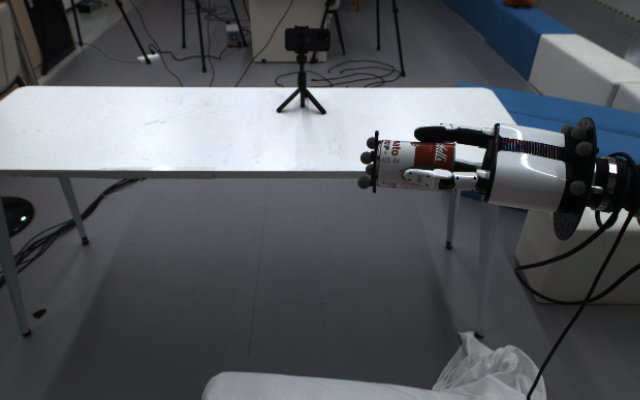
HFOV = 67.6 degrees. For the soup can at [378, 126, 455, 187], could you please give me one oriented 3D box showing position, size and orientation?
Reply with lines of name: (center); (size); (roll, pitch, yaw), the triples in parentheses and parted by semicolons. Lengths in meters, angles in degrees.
soup can: (0.134, -0.049, 0.670); (0.101, 0.067, 0.067); (5, 34, 13)
